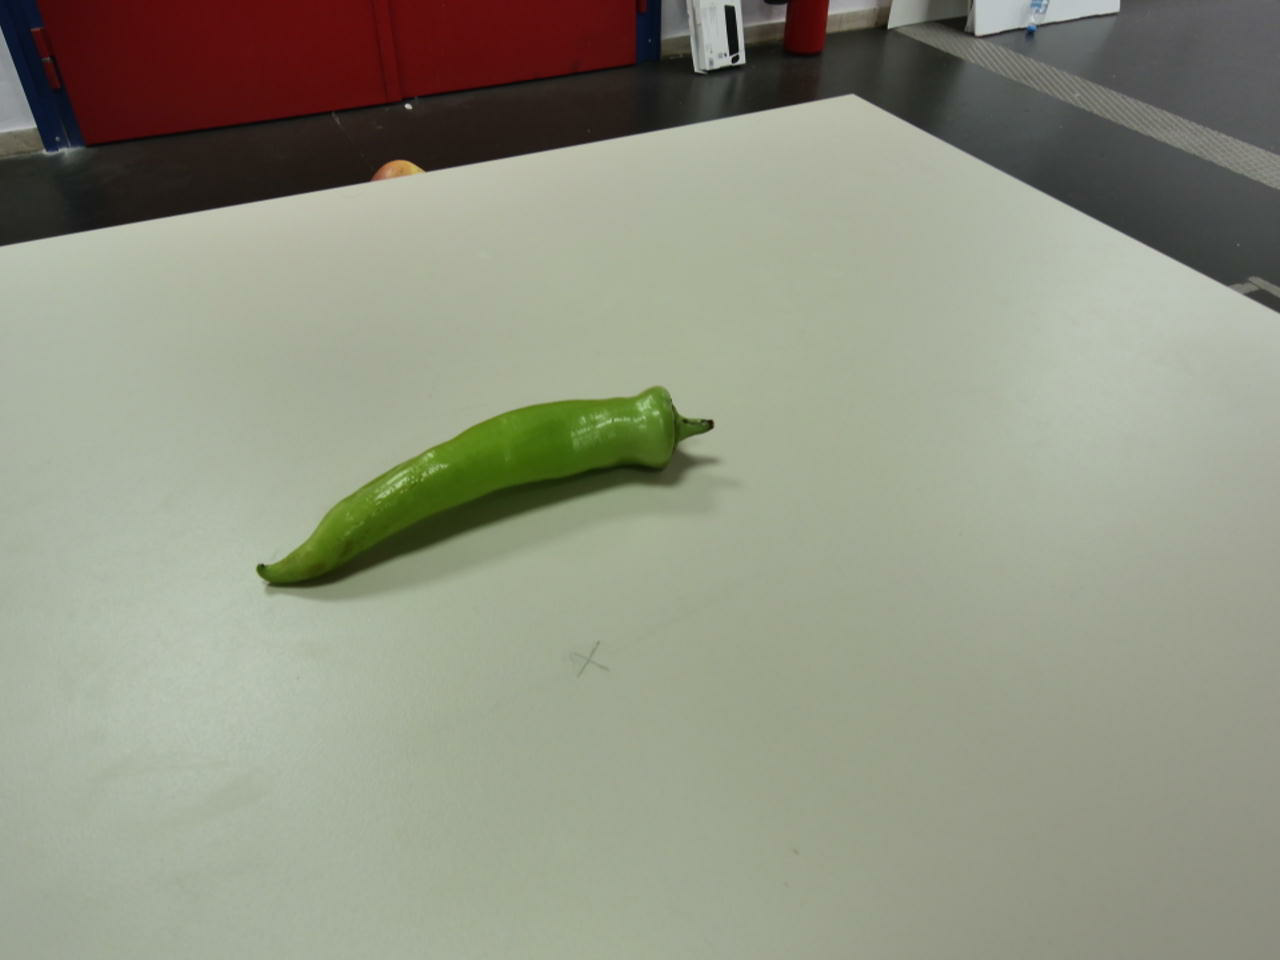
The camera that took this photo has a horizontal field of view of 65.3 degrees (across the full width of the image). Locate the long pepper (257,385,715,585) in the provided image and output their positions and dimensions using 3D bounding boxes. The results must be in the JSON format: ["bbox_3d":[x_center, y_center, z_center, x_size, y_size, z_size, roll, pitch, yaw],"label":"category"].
[{"bbox_3d":[-0.063,-0.006,0.418,0.197,0.038,0.047,-16,41,-20],"label":"long pepper"}]
